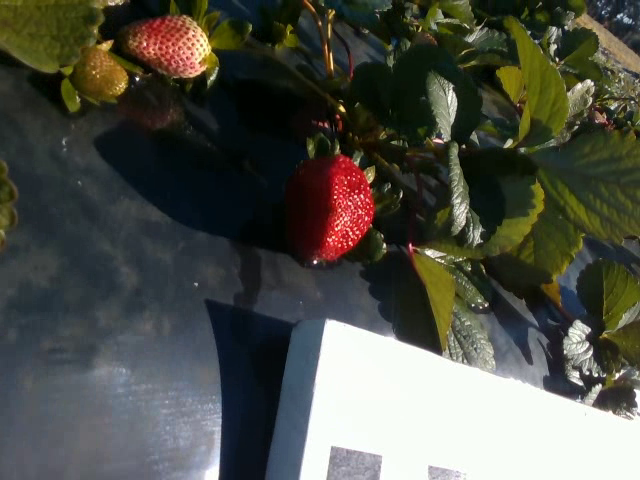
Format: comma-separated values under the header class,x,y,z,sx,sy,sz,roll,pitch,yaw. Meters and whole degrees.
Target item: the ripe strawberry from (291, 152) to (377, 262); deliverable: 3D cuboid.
class,x,y,z,sx,sy,sz,roll,pitch,yaw
ripe strawberry,0.001,-0.011,0.248,0.058,0.066,0.061,-28,14,-11
